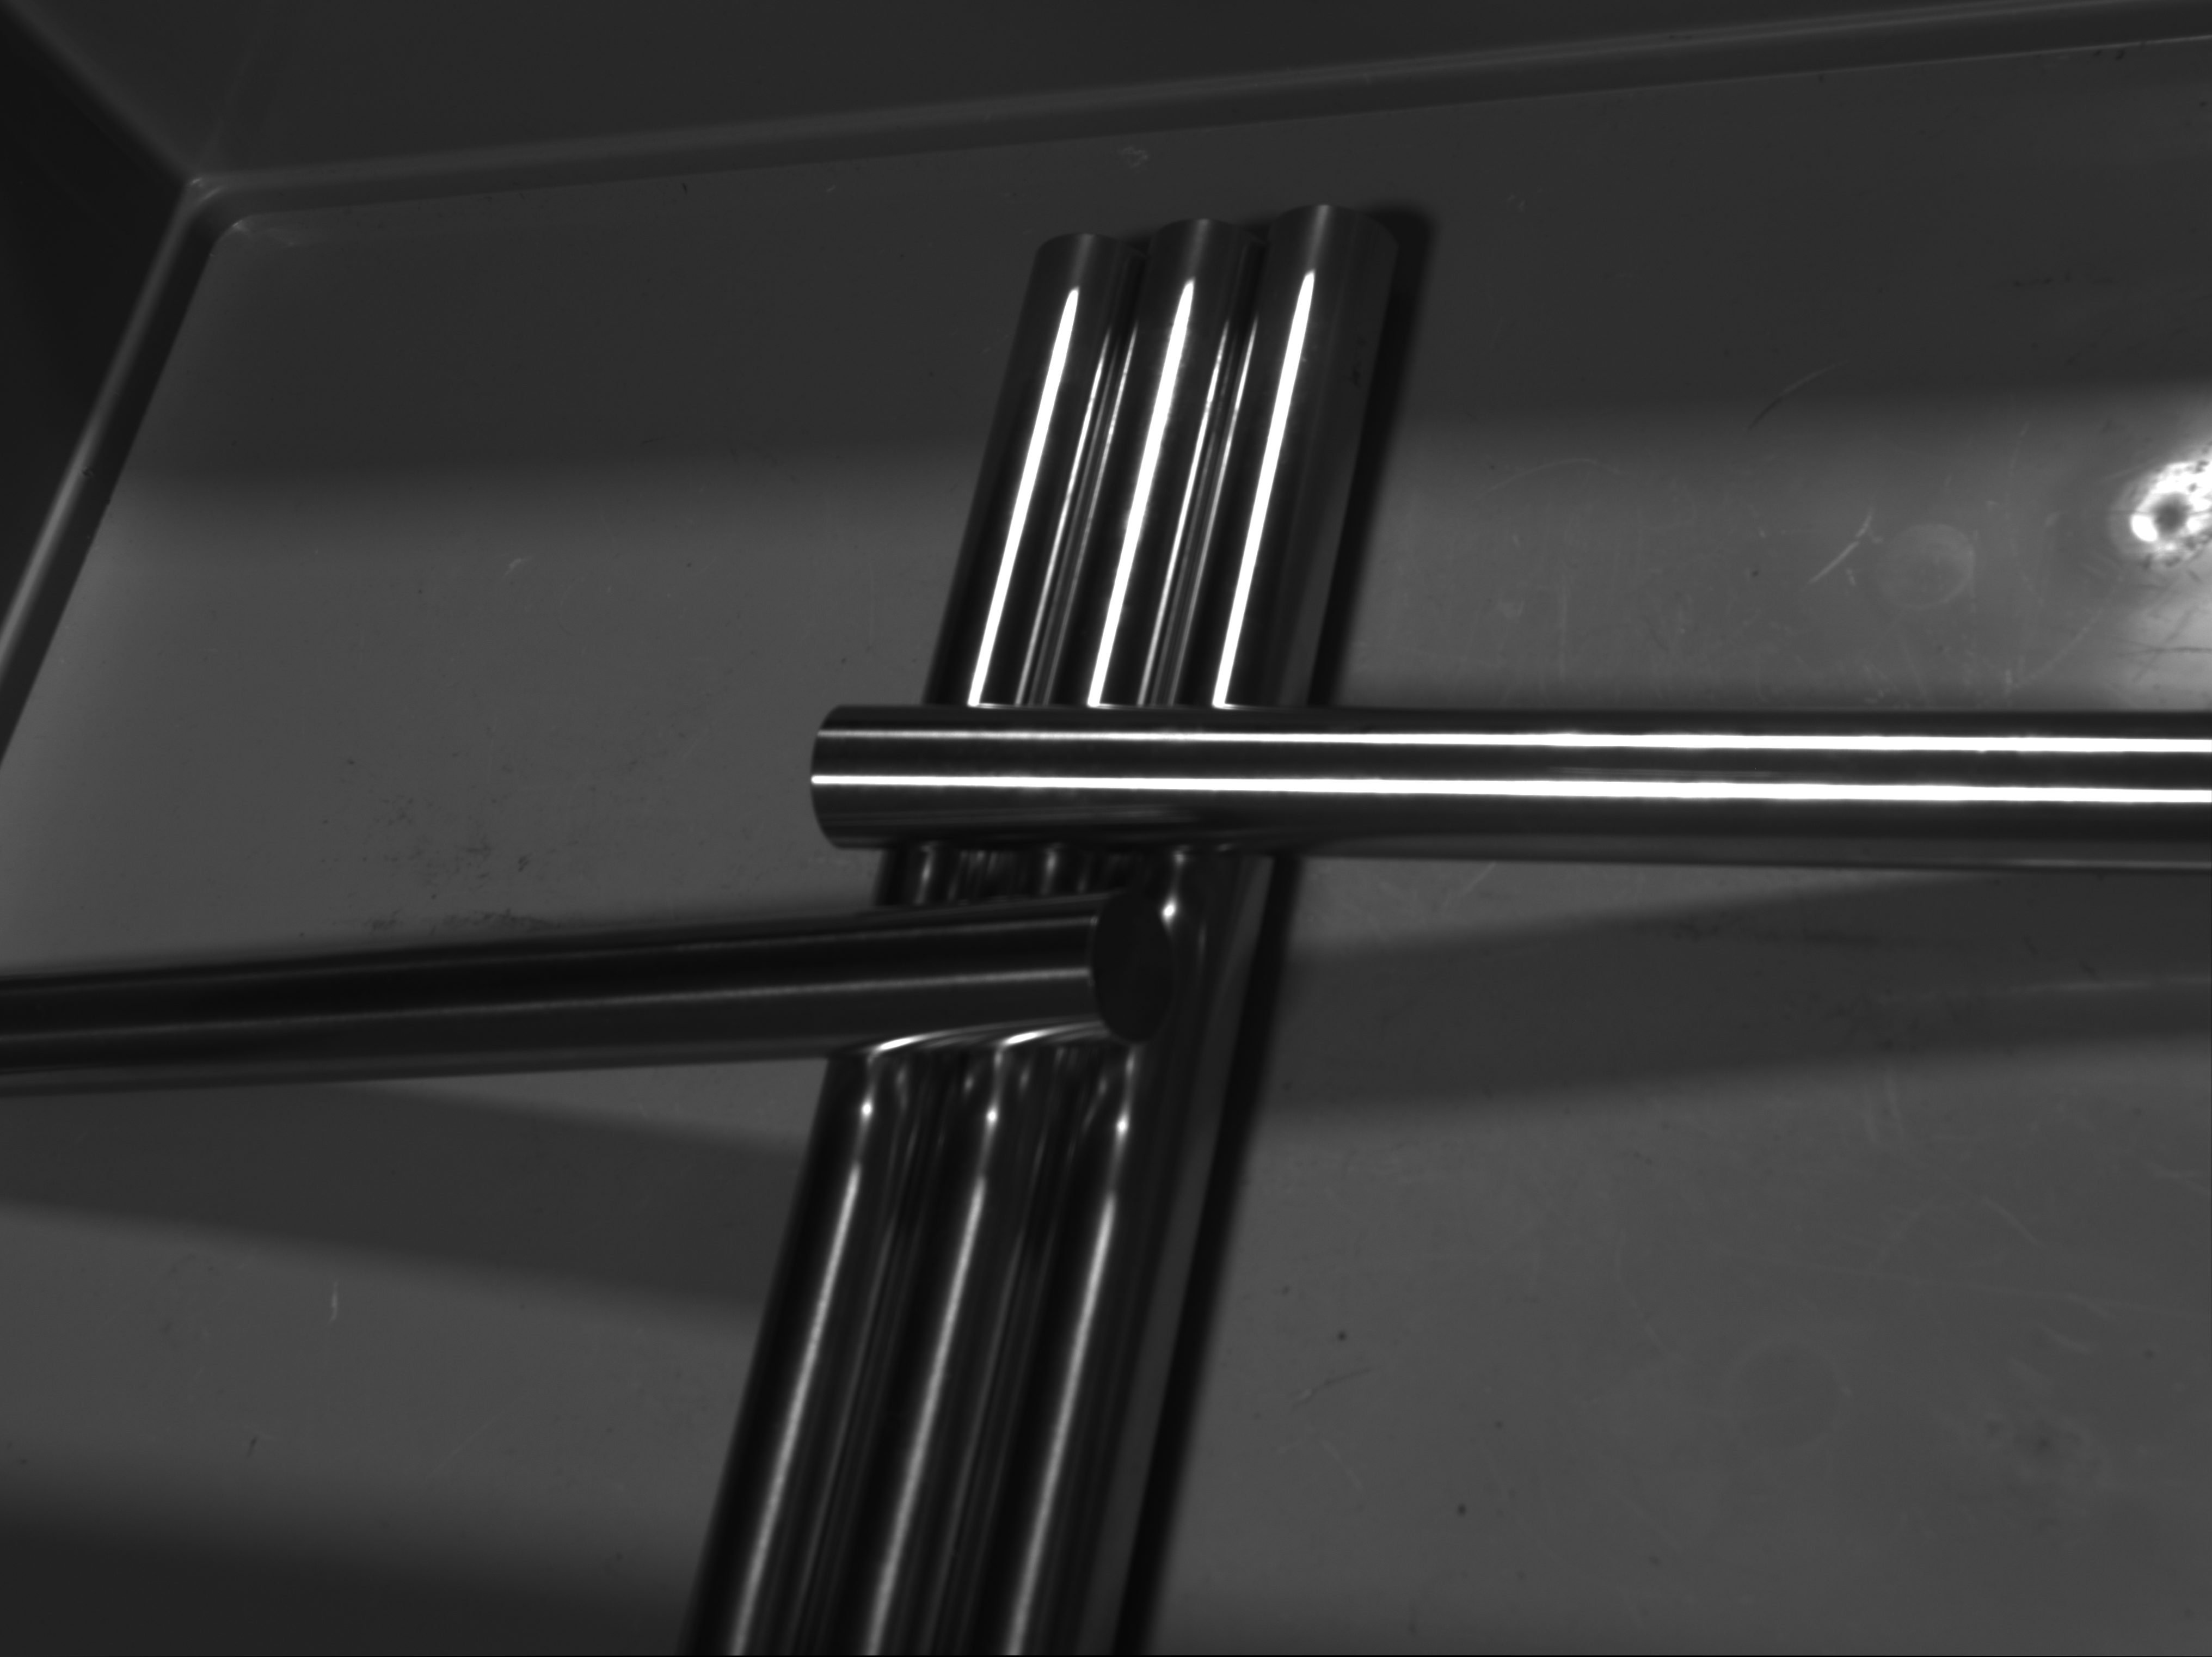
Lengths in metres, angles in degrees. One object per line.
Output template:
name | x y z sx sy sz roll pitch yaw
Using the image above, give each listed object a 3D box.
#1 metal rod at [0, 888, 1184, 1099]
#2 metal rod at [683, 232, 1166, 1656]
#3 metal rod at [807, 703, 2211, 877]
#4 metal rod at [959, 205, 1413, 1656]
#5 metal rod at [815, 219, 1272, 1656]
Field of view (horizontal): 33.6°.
metal rod | -0.119 0.033 0.667 0.299 0.025 0.025 -5 59 33
metal rod | -0.030 0.024 0.645 0.025 0.025 0.300 -1 61 28
metal rod | 0.093 -0.007 0.575 0.299 0.025 0.025 1 62 22
metal rod | 0.015 0.023 0.622 0.025 0.025 0.300 -1 61 28
metal rod | -0.008 0.023 0.633 0.025 0.025 0.300 -1 61 28
